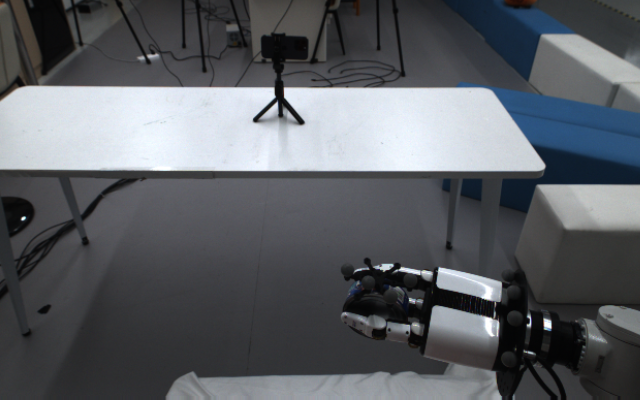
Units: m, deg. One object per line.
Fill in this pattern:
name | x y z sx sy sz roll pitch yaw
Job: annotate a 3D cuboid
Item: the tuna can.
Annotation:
tuna can | 0.078 0.141 0.641 0.085 0.085 0.034 10 34 11
